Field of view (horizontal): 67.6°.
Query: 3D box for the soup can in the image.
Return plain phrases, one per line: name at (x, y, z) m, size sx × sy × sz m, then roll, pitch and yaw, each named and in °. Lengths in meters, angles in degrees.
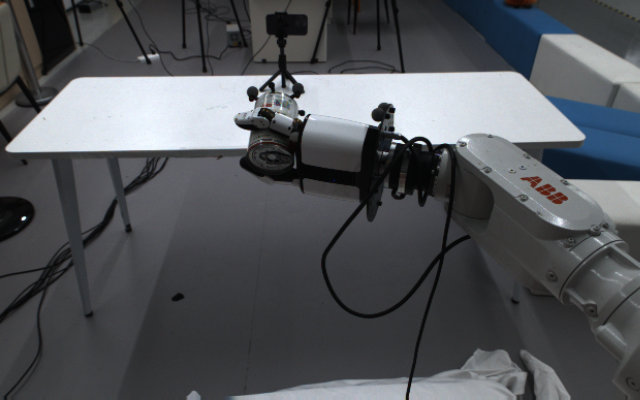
soup can at (-0.067, -0.096, 0.692) m, size 0.067 × 0.067 × 0.101 m, roll 3°, pitch 57°, yaw 1°
